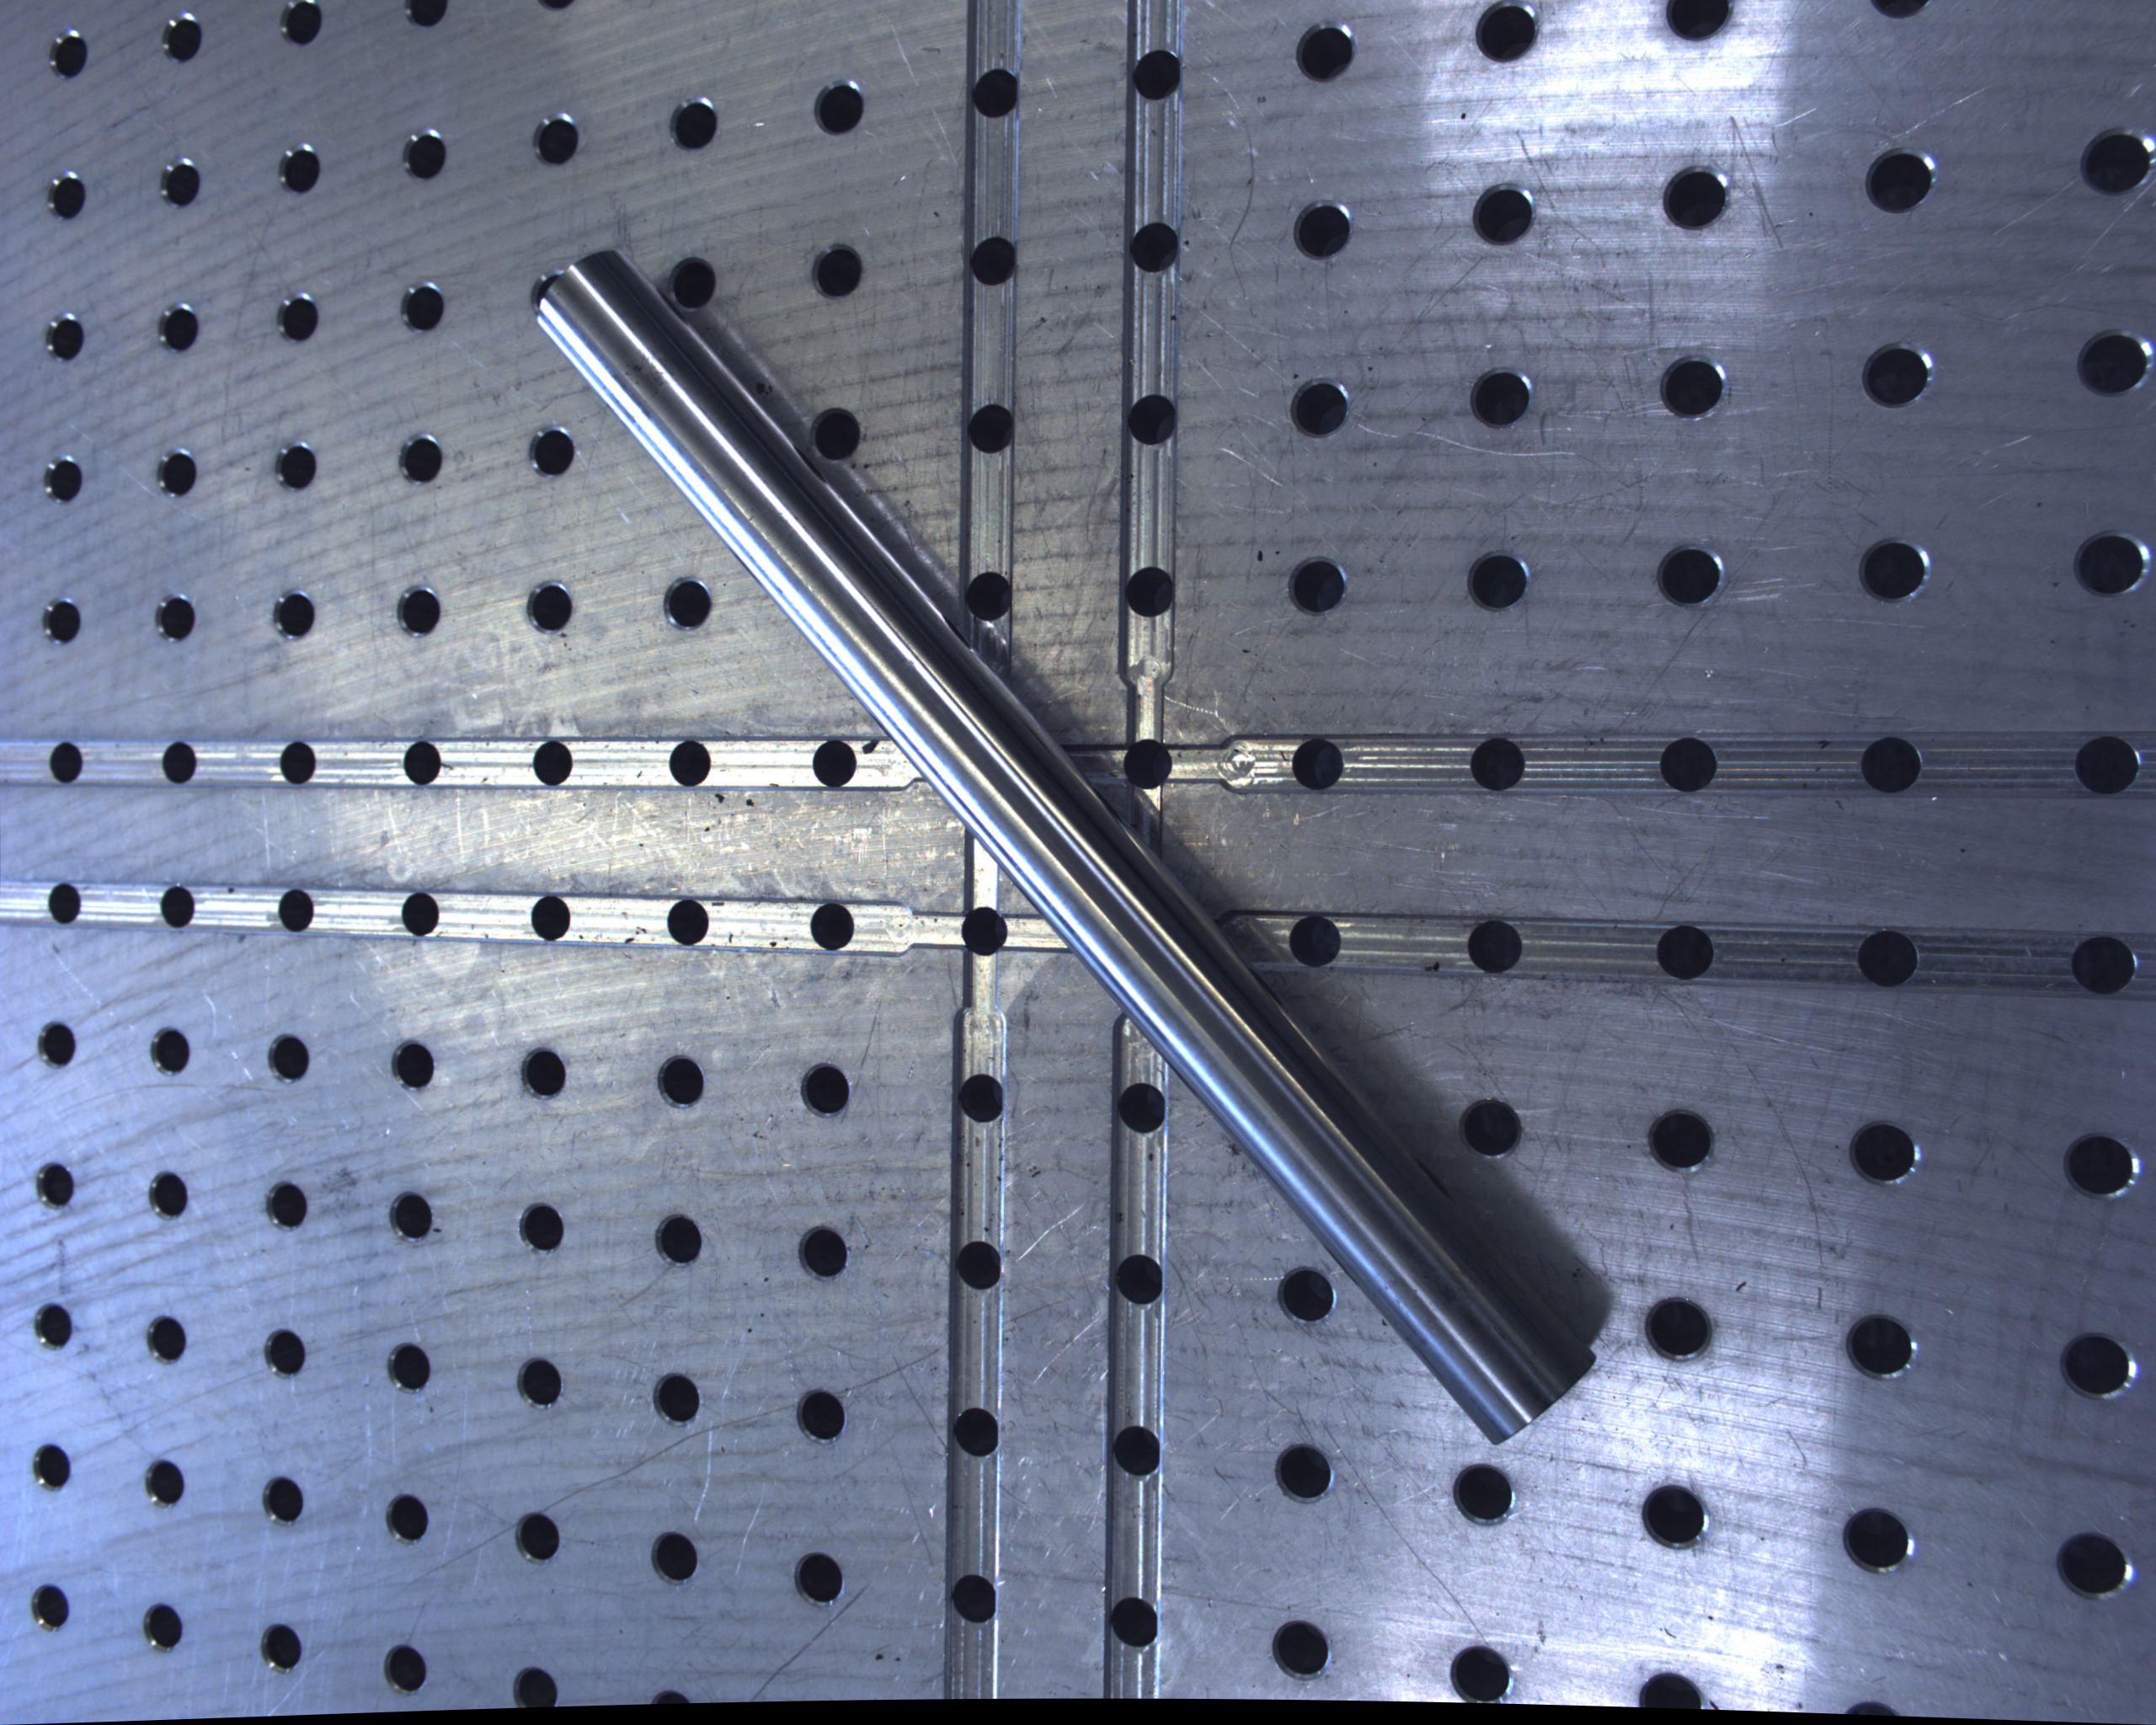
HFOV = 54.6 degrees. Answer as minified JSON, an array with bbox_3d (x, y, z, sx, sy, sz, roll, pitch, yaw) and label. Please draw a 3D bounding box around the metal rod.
[{"bbox_3d":[-0.010,-0.012,0.417,0.025,0.025,0.300,-44,76,15],"label":"metal rod"}]
